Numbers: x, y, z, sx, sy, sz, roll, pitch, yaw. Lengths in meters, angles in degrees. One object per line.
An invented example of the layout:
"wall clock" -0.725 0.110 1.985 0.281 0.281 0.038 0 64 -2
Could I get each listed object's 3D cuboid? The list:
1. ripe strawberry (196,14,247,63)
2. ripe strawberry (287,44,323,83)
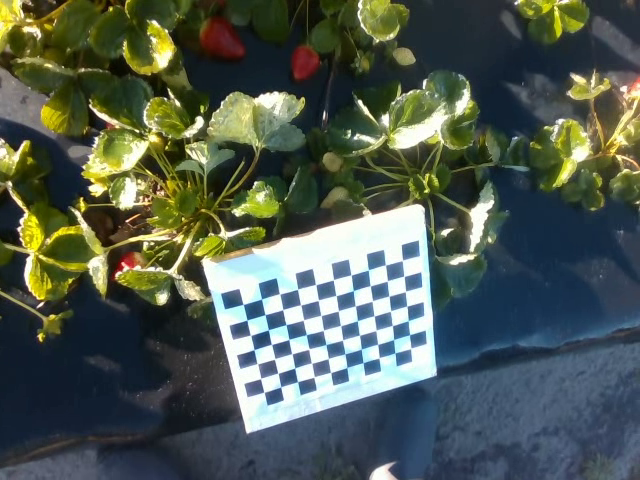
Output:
"ripe strawberry" -0.107 -0.224 0.731 0.056 0.044 0.040 35 5 -26
"ripe strawberry" -0.018 -0.203 0.753 0.039 0.047 0.040 23 -1 -25
